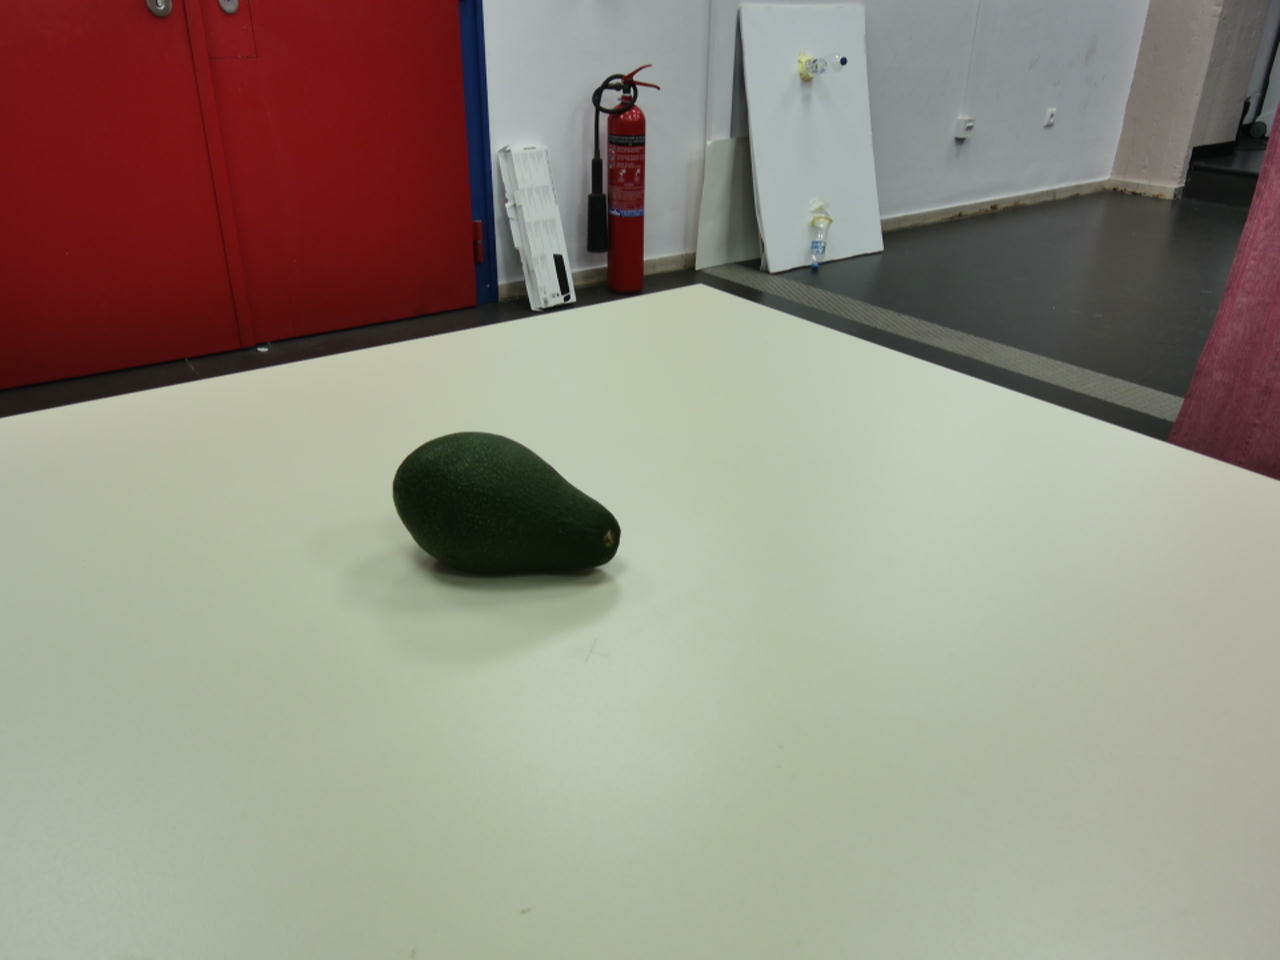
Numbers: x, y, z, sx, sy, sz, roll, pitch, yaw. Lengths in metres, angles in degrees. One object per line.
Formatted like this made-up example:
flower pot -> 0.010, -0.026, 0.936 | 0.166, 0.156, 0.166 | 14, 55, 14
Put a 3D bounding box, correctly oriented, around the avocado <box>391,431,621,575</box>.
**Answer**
avocado -> -0.069, 0.014, 0.504 | 0.110, 0.071, 0.072 | 14, 28, 27
